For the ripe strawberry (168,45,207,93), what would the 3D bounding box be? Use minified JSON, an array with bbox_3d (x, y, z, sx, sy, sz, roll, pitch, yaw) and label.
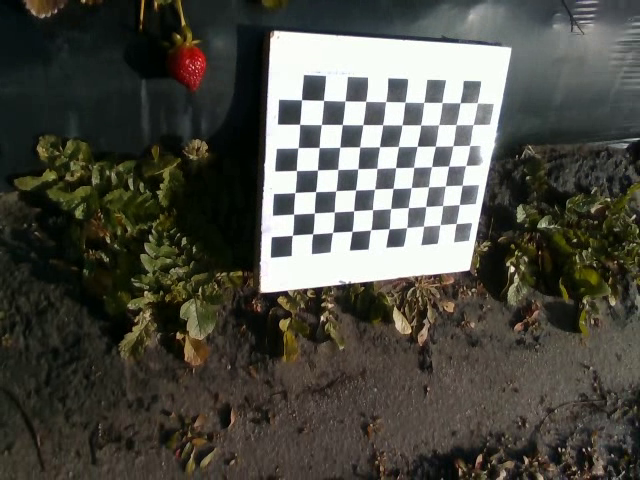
[{"bbox_3d":[-0.116,-0.147,0.519,0.040,0.044,0.036,-23,15,-14],"label":"ripe strawberry"}]
